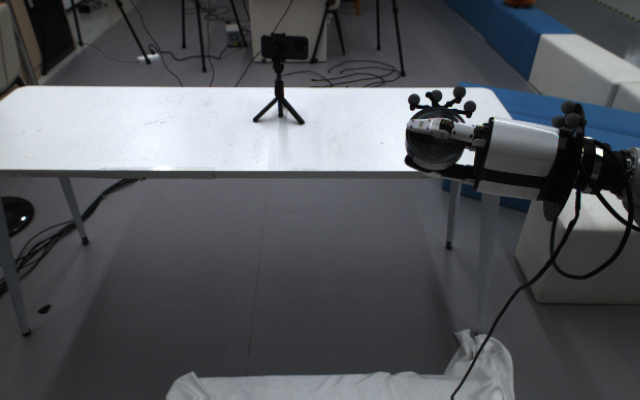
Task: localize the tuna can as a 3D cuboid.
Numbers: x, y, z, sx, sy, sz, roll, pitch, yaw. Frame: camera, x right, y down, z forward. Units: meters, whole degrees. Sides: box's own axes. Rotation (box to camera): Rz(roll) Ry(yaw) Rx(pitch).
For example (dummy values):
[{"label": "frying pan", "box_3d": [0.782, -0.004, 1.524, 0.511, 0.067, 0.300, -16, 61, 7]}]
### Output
[{"label": "tuna can", "box_3d": [0.164, -0.090, 0.686, 0.085, 0.034, 0.085, -2, 70, 7]}]
